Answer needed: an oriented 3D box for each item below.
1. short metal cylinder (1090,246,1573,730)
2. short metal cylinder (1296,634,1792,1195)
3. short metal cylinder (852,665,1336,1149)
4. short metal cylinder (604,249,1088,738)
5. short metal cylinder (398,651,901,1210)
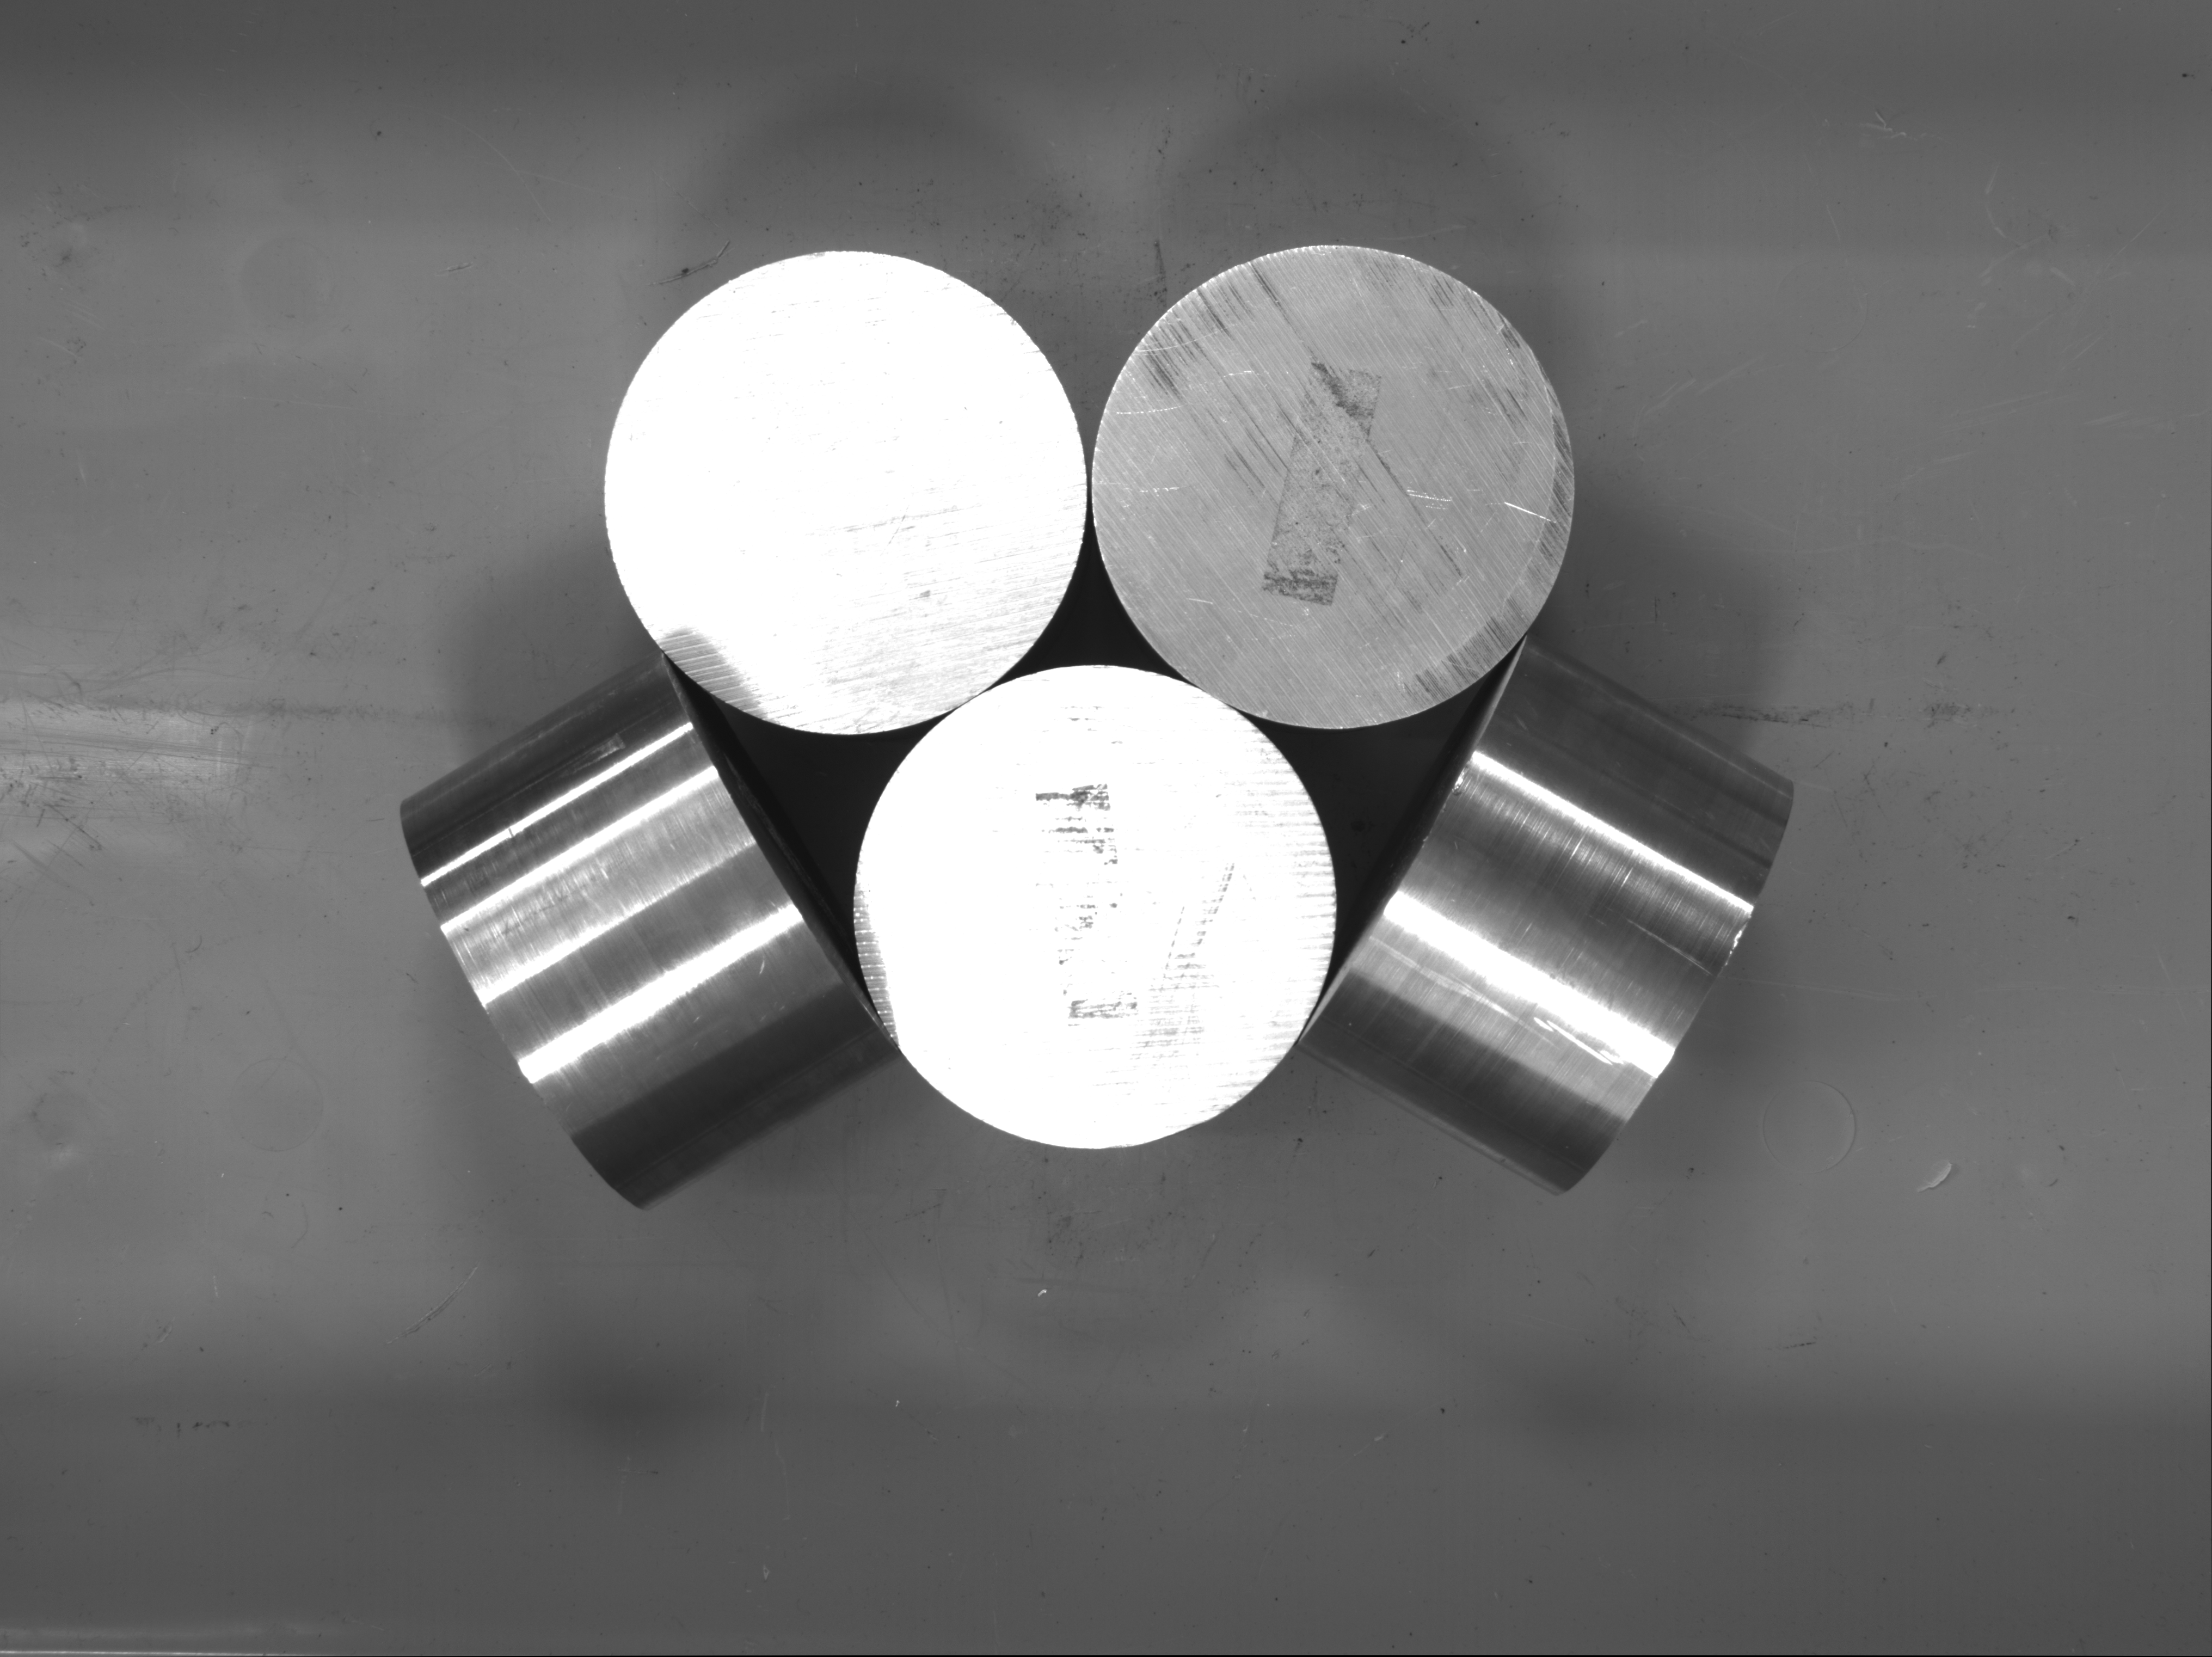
[{"bbox_3d":[0.037,-0.056,0.632,0.080,0.050,0.080,0,90,0],"label":"short metal cylinder"},{"bbox_3d":[0.073,0.014,0.616,0.050,0.080,0.080,29,90,0],"label":"short metal cylinder"},{"bbox_3d":[-0.002,0.013,0.632,0.080,0.050,0.080,0,90,0],"label":"short metal cylinder"},{"bbox_3d":[-0.043,-0.056,0.632,0.080,0.050,0.080,0,90,0],"label":"short metal cylinder"},{"bbox_3d":[-0.076,0.017,0.616,0.050,0.080,0.080,-30,90,0],"label":"short metal cylinder"}]
